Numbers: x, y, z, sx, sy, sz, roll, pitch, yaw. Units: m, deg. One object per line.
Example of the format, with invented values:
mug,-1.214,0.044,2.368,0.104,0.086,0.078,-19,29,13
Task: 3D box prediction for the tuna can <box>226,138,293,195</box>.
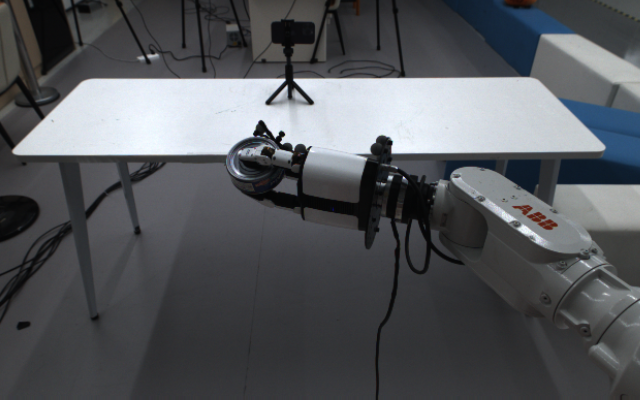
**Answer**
tuna can,-0.093,-0.047,0.721,0.085,0.034,0.085,-4,57,6
